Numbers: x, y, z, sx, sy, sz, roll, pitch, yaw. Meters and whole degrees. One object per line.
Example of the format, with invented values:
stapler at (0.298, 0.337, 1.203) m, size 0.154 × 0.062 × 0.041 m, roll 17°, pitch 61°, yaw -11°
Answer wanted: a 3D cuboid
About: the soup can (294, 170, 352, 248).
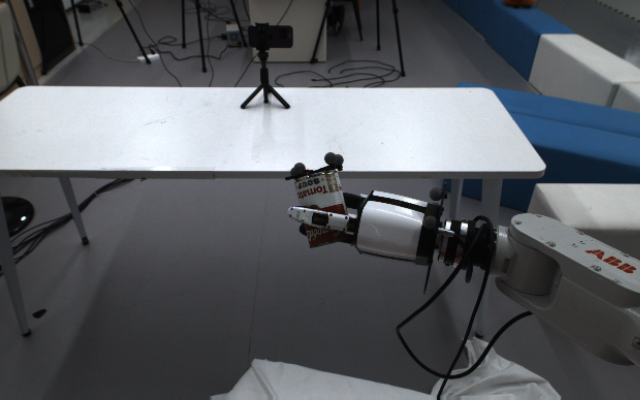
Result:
soup can at (0.006, 0.014, 0.711) m, size 0.067 × 0.101 × 0.067 m, roll -14°, pitch -2°, yaw -1°
